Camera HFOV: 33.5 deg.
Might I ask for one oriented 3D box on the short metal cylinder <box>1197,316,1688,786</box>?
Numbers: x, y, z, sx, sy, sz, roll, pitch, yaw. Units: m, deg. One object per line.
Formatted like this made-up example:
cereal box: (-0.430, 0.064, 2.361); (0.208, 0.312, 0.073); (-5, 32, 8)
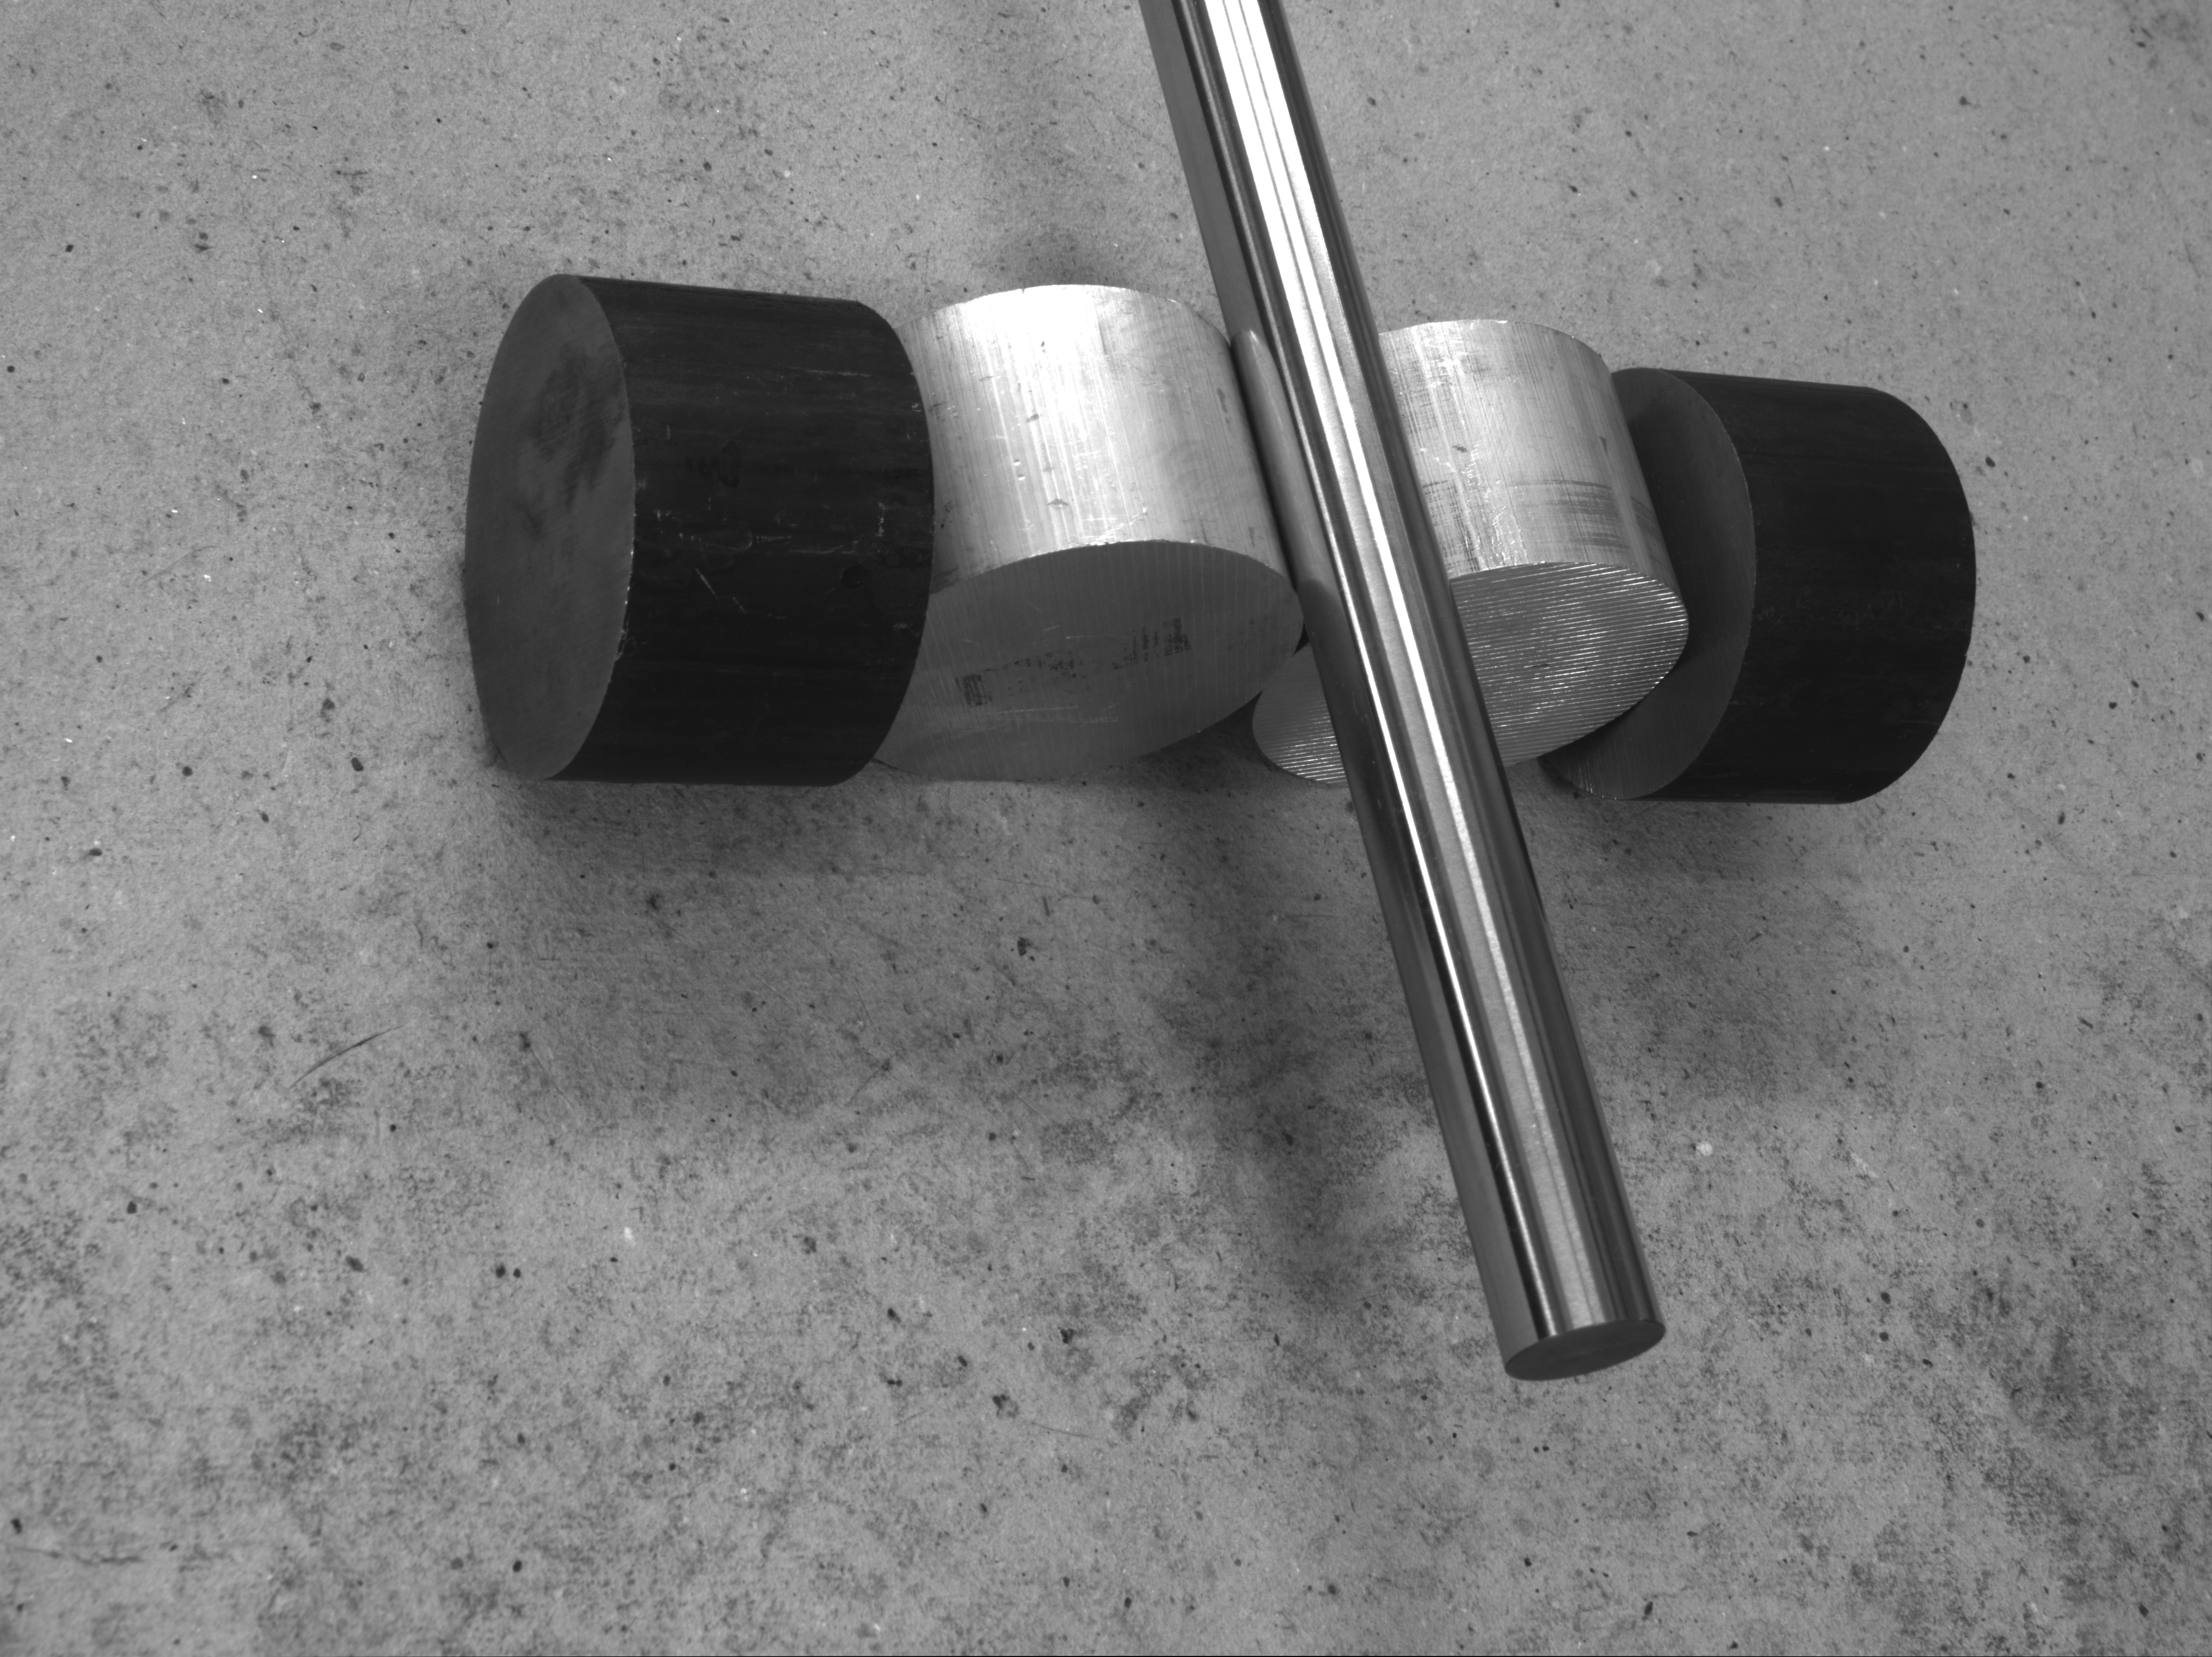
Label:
short metal cylinder: (0.060, -0.049, 0.666); (0.080, 0.080, 0.050); (1, 61, -28)

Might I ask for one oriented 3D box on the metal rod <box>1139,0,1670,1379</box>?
metal rod: (0.041, -0.054, 0.616); (0.025, 0.025, 0.300); (1, 61, -28)

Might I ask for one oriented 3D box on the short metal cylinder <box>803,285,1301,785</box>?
short metal cylinder: (-0.011, -0.049, 0.629); (0.080, 0.080, 0.050); (1, 61, -28)

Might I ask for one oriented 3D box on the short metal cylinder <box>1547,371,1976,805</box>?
short metal cylinder: (0.119, -0.045, 0.695); (0.050, 0.080, 0.080); (1, 61, -27)

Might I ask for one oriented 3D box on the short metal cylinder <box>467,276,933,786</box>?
short metal cylinder: (-0.068, -0.047, 0.597); (0.050, 0.080, 0.080); (1, 61, -27)
